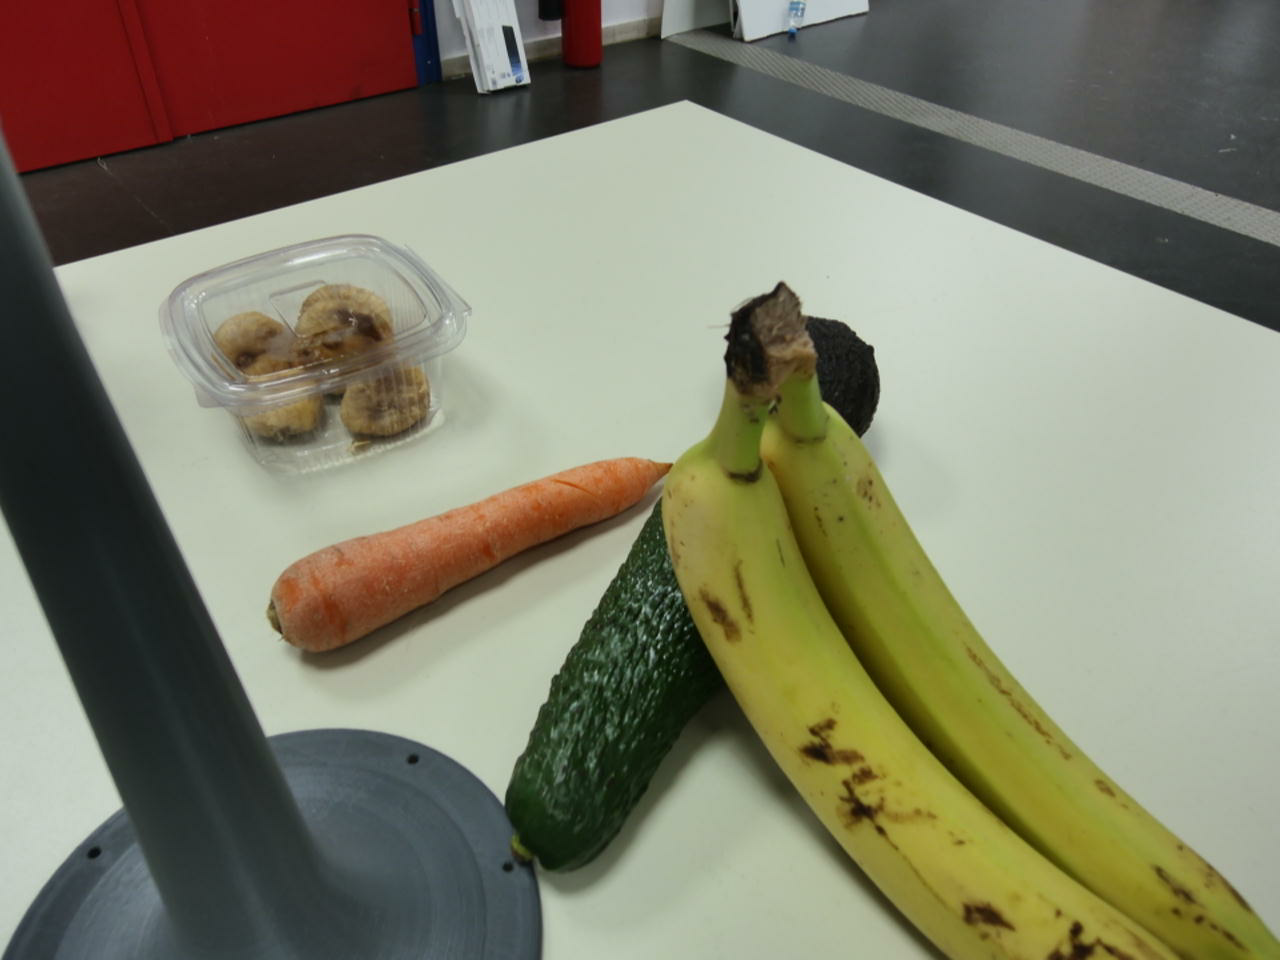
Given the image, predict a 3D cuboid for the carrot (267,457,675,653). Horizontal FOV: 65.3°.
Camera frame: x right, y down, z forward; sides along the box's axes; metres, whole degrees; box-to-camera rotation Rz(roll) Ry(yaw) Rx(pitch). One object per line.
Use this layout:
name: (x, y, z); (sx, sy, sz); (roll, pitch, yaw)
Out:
carrot: (-0.063, 0.019, 0.427); (0.196, 0.041, 0.039); (-26, 44, -31)
